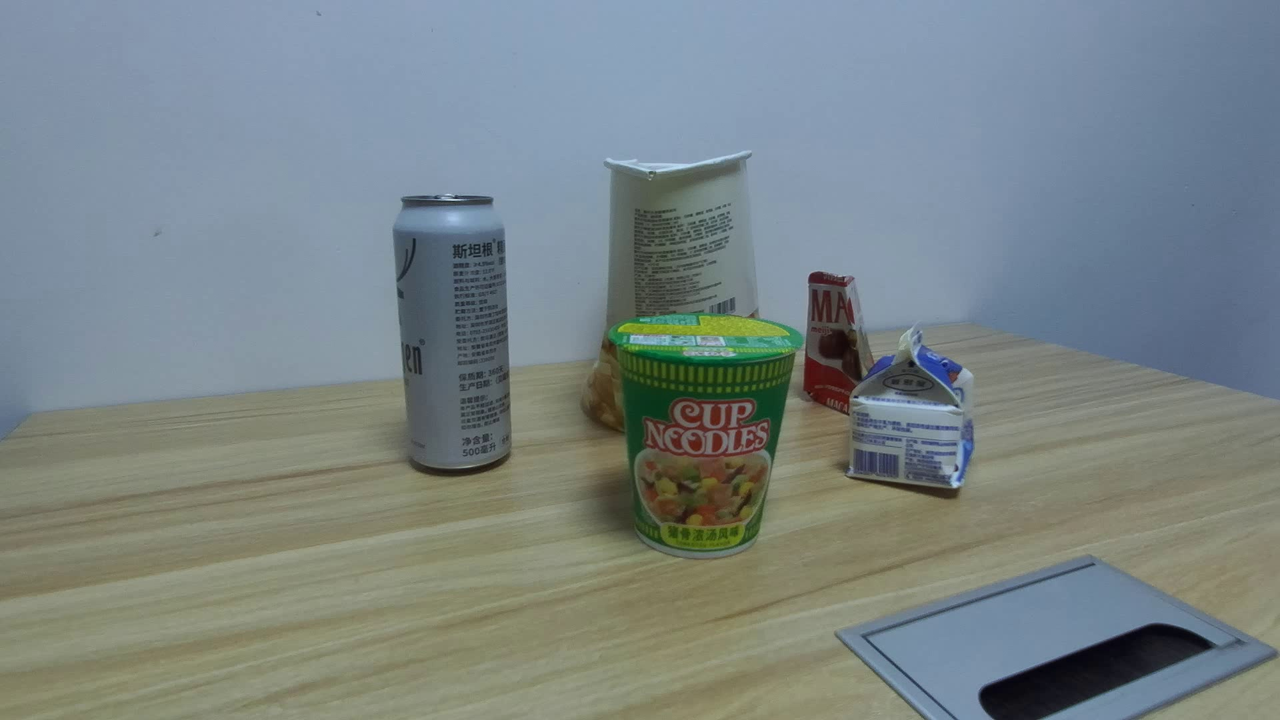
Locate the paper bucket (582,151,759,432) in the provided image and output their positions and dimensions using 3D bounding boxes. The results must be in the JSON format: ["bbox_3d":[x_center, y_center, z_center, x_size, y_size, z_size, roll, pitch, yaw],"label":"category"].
[{"bbox_3d":[0.028,-0.054,0.541,0.148,0.199,0.217,-4,15,-19],"label":"paper bucket"}]

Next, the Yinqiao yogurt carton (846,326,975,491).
[{"bbox_3d":[0.173,0.026,0.453,0.071,0.094,0.078,2,14,29],"label":"Yinqiao yogurt carton"}]

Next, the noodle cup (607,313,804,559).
[{"bbox_3d":[0.033,0.039,0.368,0.097,0.110,0.097,0,15,0],"label":"noodle cup"}]

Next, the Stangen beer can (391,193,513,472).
[{"bbox_3d":[-0.117,-0.016,0.449,0.067,0.171,0.067,1,14,0],"label":"Stangen beer can"}]

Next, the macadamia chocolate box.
[{"bbox_3d":[0.173,-0.025,0.599,0.056,0.112,0.127,5,18,20],"label":"macadamia chocolate box"}]
